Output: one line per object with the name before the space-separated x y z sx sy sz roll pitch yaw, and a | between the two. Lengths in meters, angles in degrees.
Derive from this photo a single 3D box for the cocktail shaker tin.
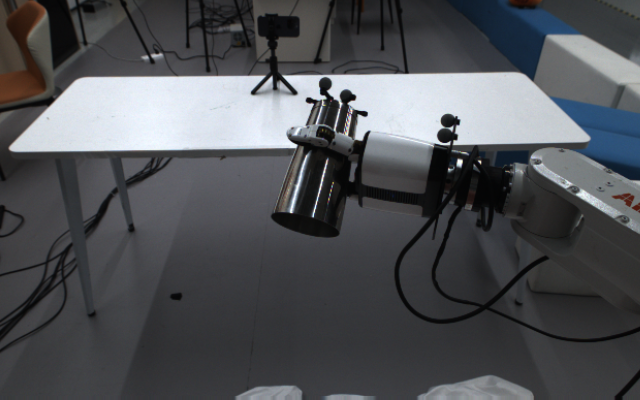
cocktail shaker tin | 0.002 -0.045 0.647 0.093 0.093 0.170 11 71 12
